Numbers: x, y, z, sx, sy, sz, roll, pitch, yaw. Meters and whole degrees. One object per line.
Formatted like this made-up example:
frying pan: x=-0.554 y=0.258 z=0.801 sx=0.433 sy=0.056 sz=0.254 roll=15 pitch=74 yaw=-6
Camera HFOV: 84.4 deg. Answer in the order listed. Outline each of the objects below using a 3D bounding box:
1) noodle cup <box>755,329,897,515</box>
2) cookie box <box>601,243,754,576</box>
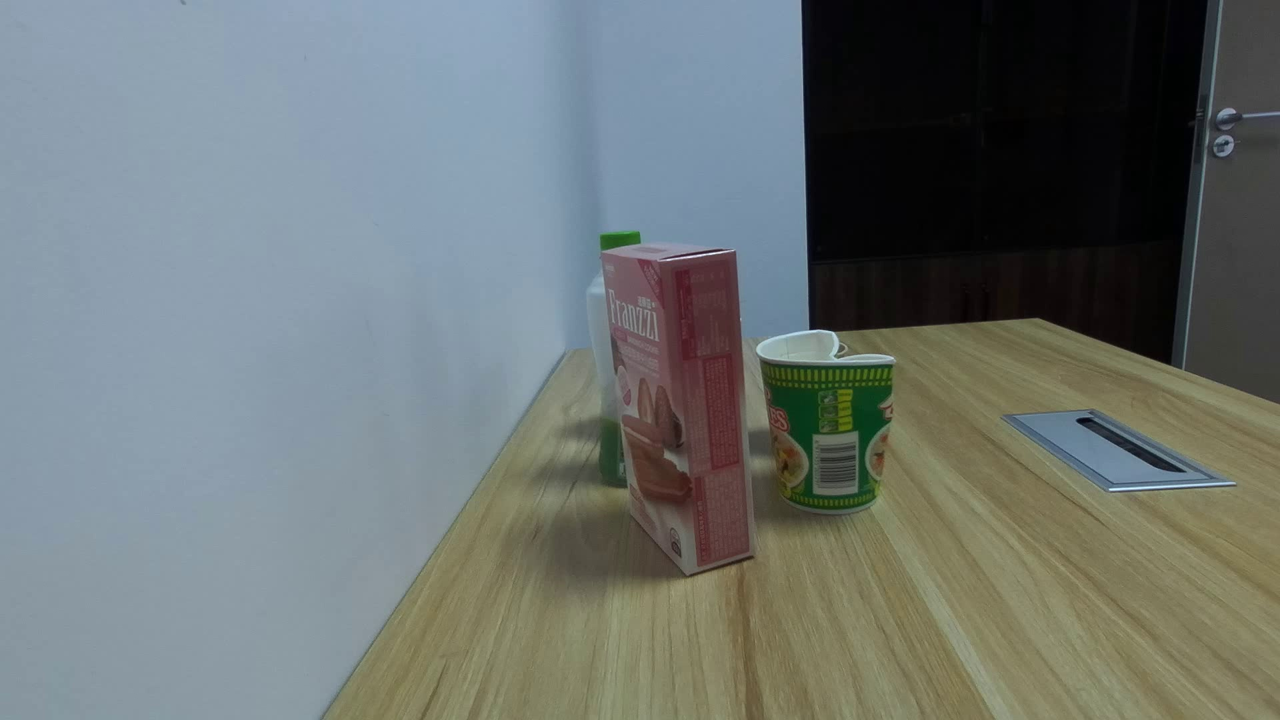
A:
noodle cup: x=0.126 y=0.042 z=0.486 sx=0.087 sy=0.109 sz=0.094 roll=-2 pitch=15 yaw=11
cookie box: x=0.026 y=0.024 z=0.432 sx=0.048 sy=0.184 sz=0.096 roll=-10 pitch=16 yaw=-16
